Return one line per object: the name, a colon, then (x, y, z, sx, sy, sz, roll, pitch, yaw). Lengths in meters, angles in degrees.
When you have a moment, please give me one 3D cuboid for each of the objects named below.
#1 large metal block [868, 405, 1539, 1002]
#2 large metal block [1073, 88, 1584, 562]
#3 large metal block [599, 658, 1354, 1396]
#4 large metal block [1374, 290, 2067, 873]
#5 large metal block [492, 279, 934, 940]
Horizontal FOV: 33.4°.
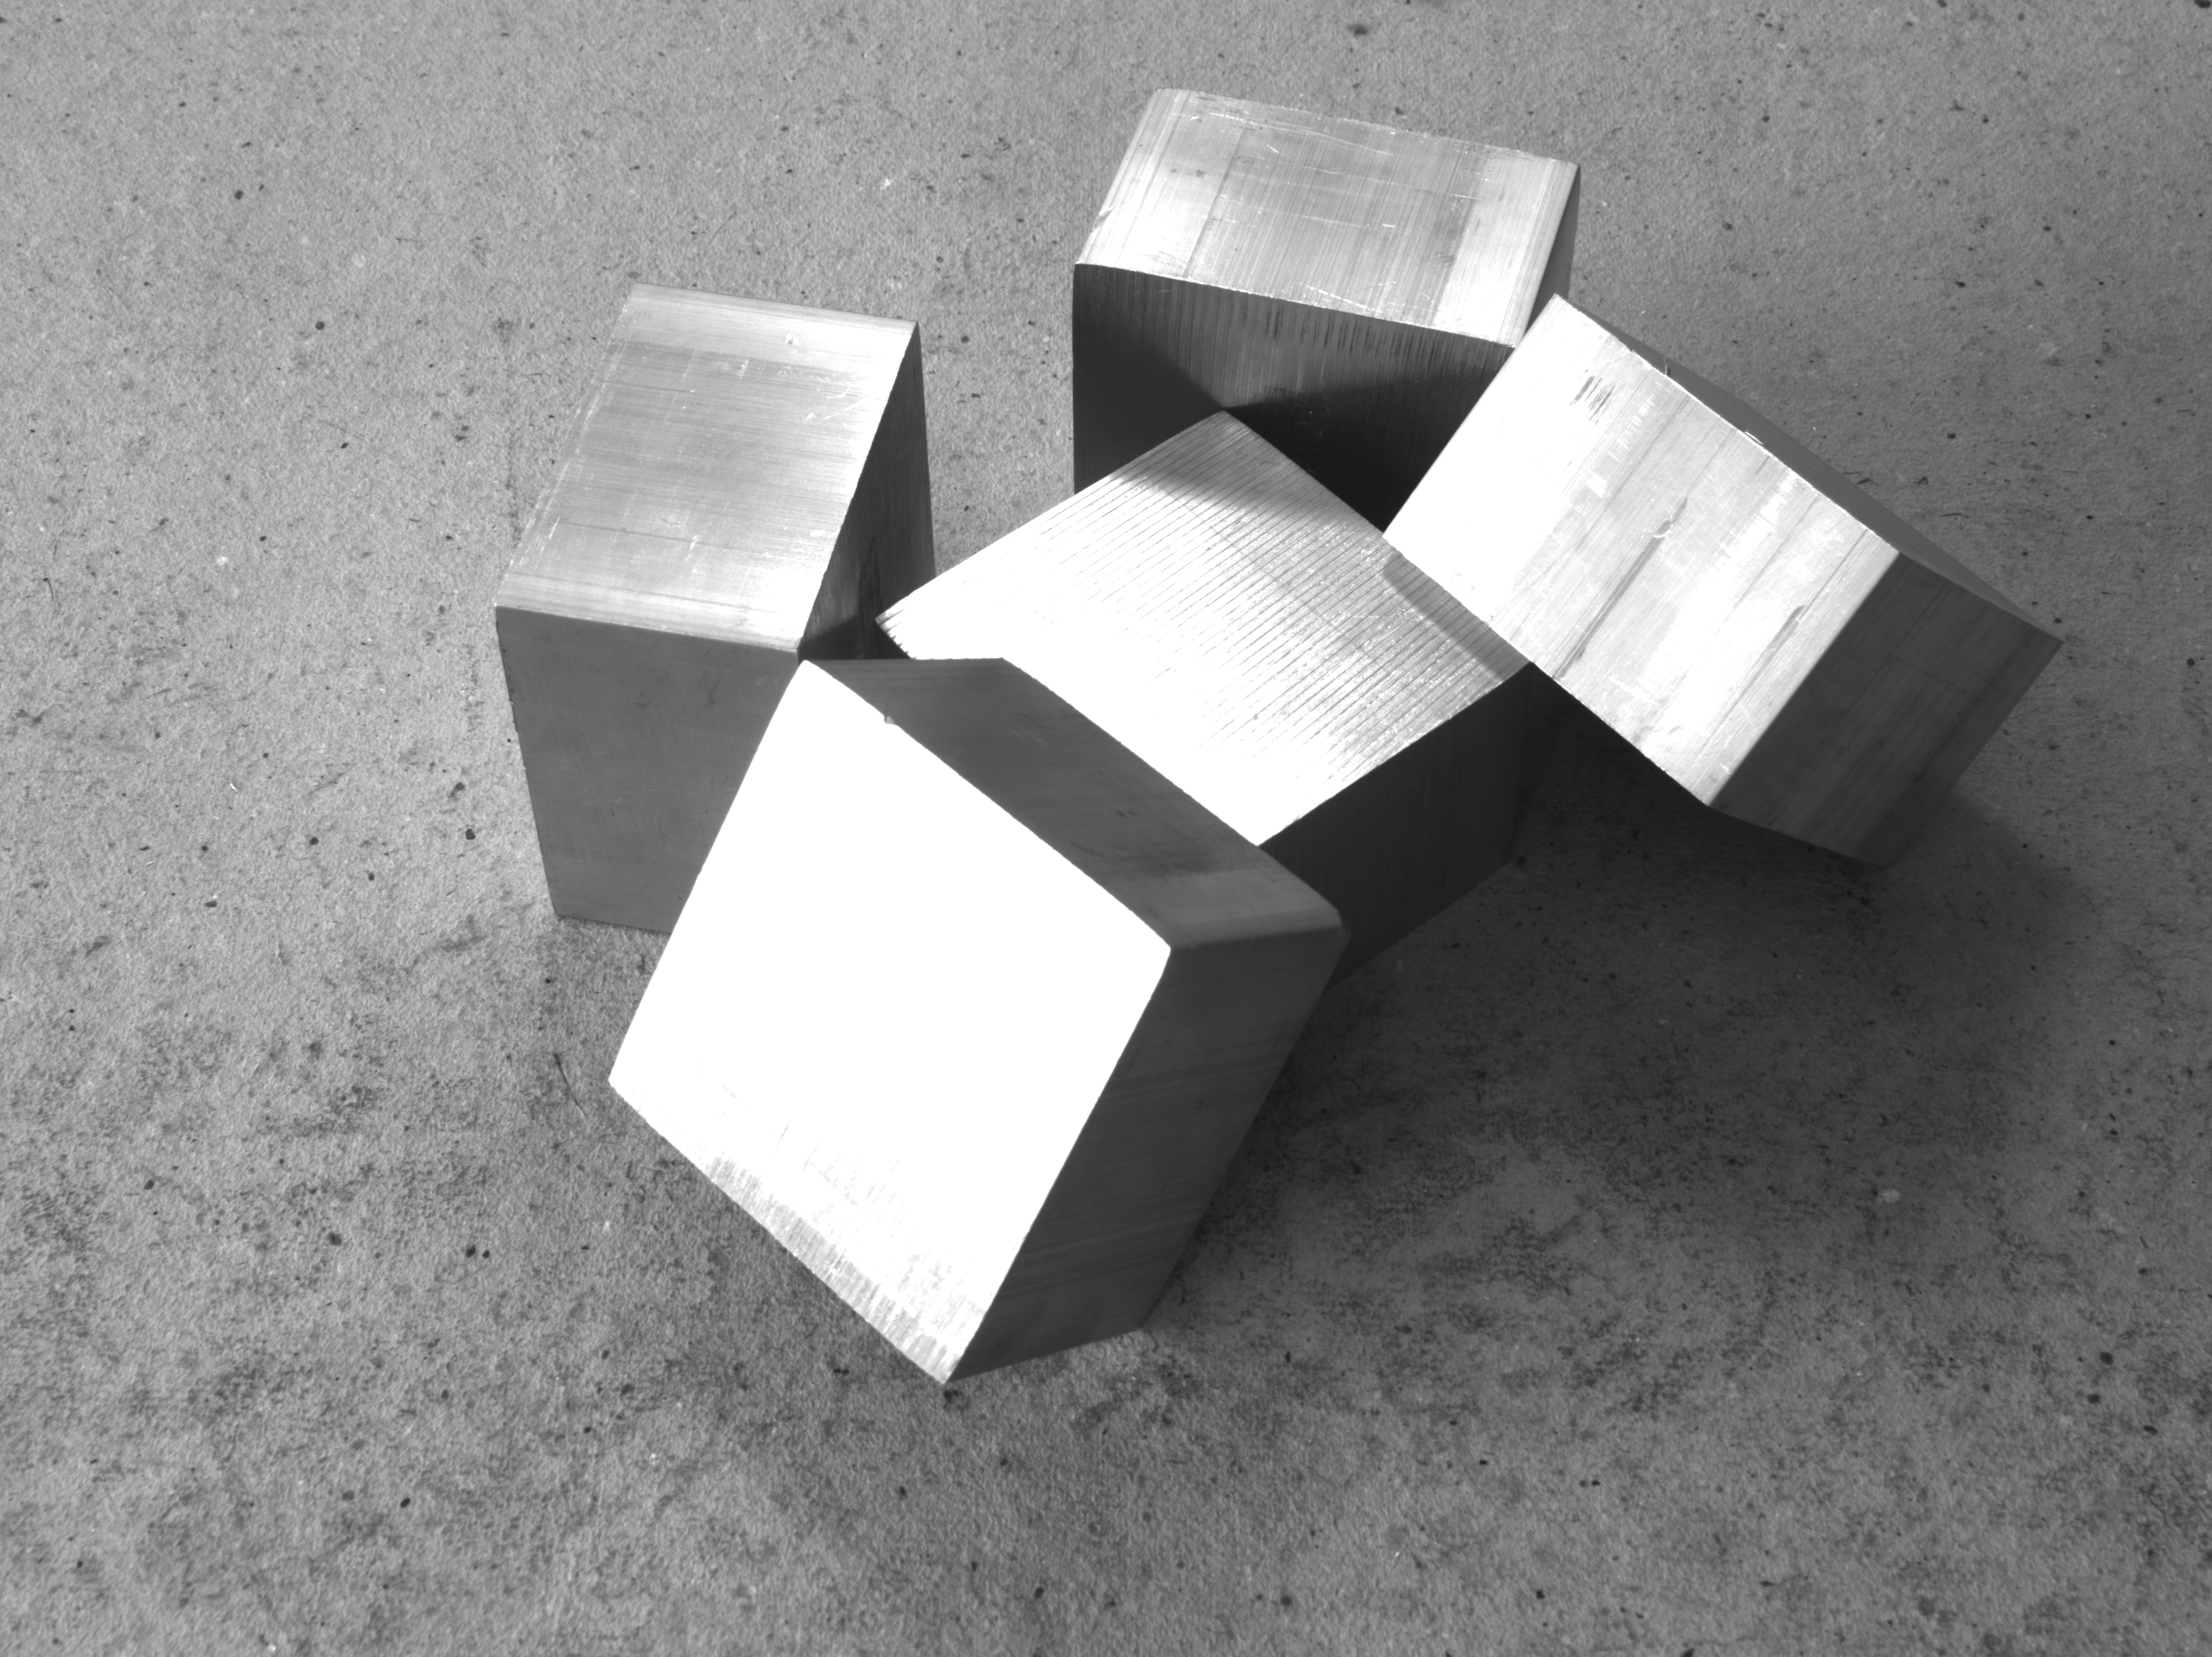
large metal block: (0.016, -0.016, 0.638, 0.080, 0.050, 0.080, -33, 58, -25)
large metal block: (0.040, -0.082, 0.677, 0.080, 0.080, 0.050, 12, 51, 10)
large metal block: (-0.021, 0.028, 0.575, 0.080, 0.080, 0.050, 38, 23, 28)
large metal block: (0.106, -0.041, 0.634, 0.080, 0.080, 0.050, 43, 106, 30)
large metal block: (-0.065, -0.035, 0.638, 0.050, 0.080, 0.080, 9, 51, 8)
